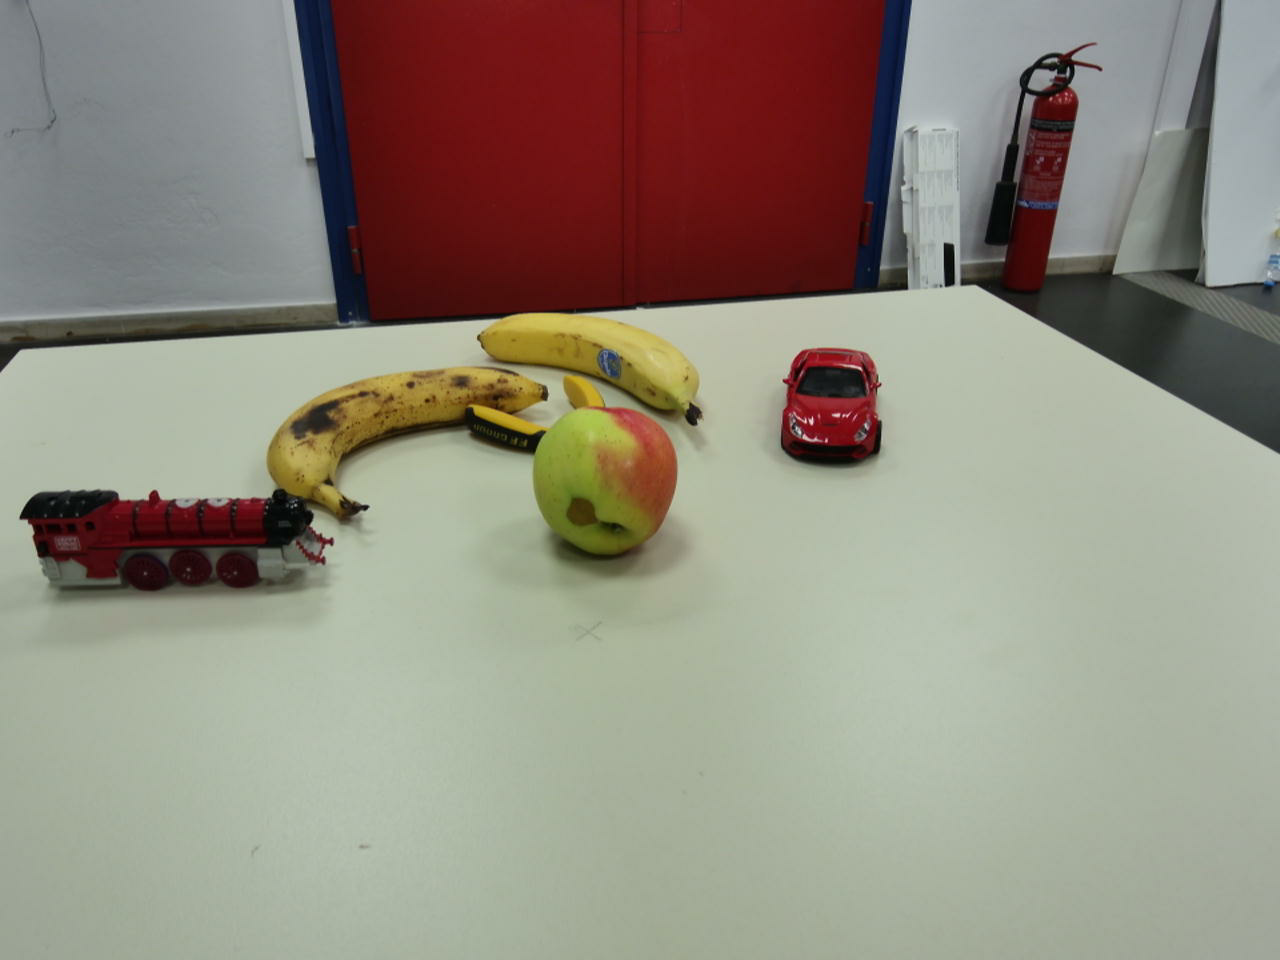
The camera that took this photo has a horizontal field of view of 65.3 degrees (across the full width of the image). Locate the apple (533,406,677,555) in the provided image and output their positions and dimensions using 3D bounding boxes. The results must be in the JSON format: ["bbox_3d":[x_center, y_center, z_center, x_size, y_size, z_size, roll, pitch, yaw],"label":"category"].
[{"bbox_3d":[-0.016,-0.001,0.509,0.075,0.074,0.075,-14,30,-29],"label":"apple"}]
